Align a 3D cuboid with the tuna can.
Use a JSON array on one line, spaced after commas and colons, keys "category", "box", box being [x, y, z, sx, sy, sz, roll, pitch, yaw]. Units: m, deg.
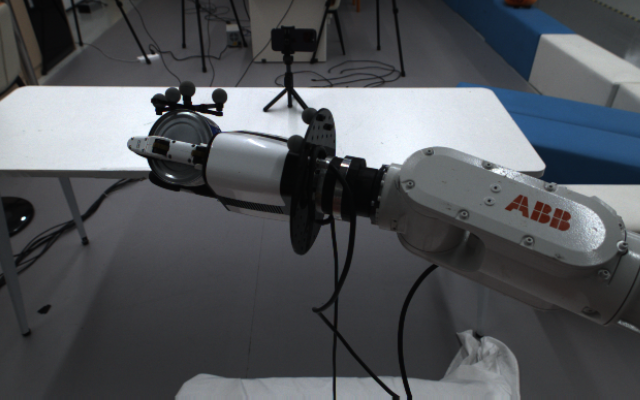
[{"category": "tuna can", "box": [-0.152, -0.058, 0.556, 0.085, 0.085, 0.034, 15, 0, 18]}]
